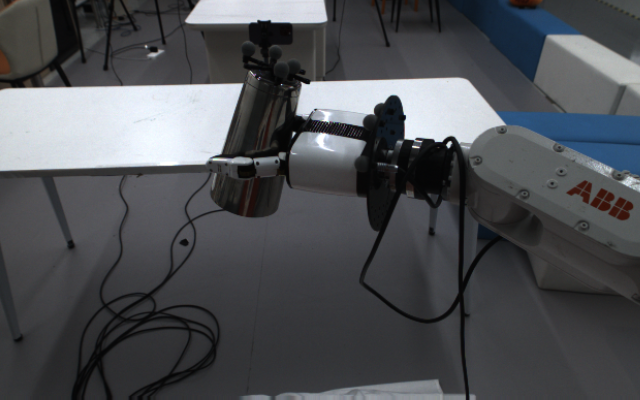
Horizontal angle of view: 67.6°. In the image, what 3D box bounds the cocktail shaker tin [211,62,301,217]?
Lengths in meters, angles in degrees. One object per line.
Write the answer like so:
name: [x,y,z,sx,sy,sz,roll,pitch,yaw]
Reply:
cocktail shaker tin: [-0.076,-0.075,0.607,0.093,0.170,0.093,15,26,-8]
